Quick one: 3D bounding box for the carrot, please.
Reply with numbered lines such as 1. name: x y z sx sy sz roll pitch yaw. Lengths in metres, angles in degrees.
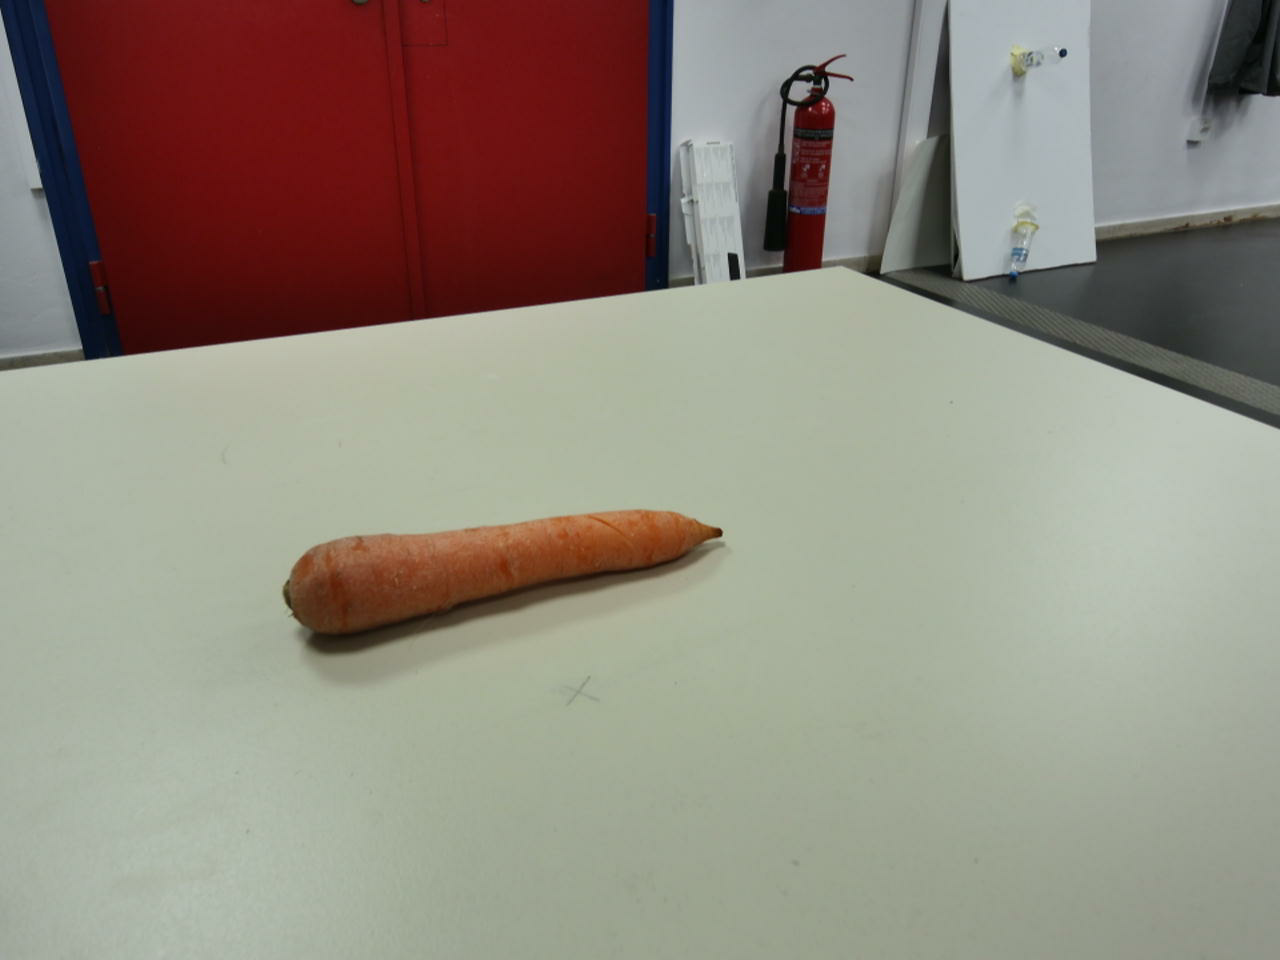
1. carrot: -0.050 0.029 0.432 0.196 0.041 0.039 -12 27 -23
